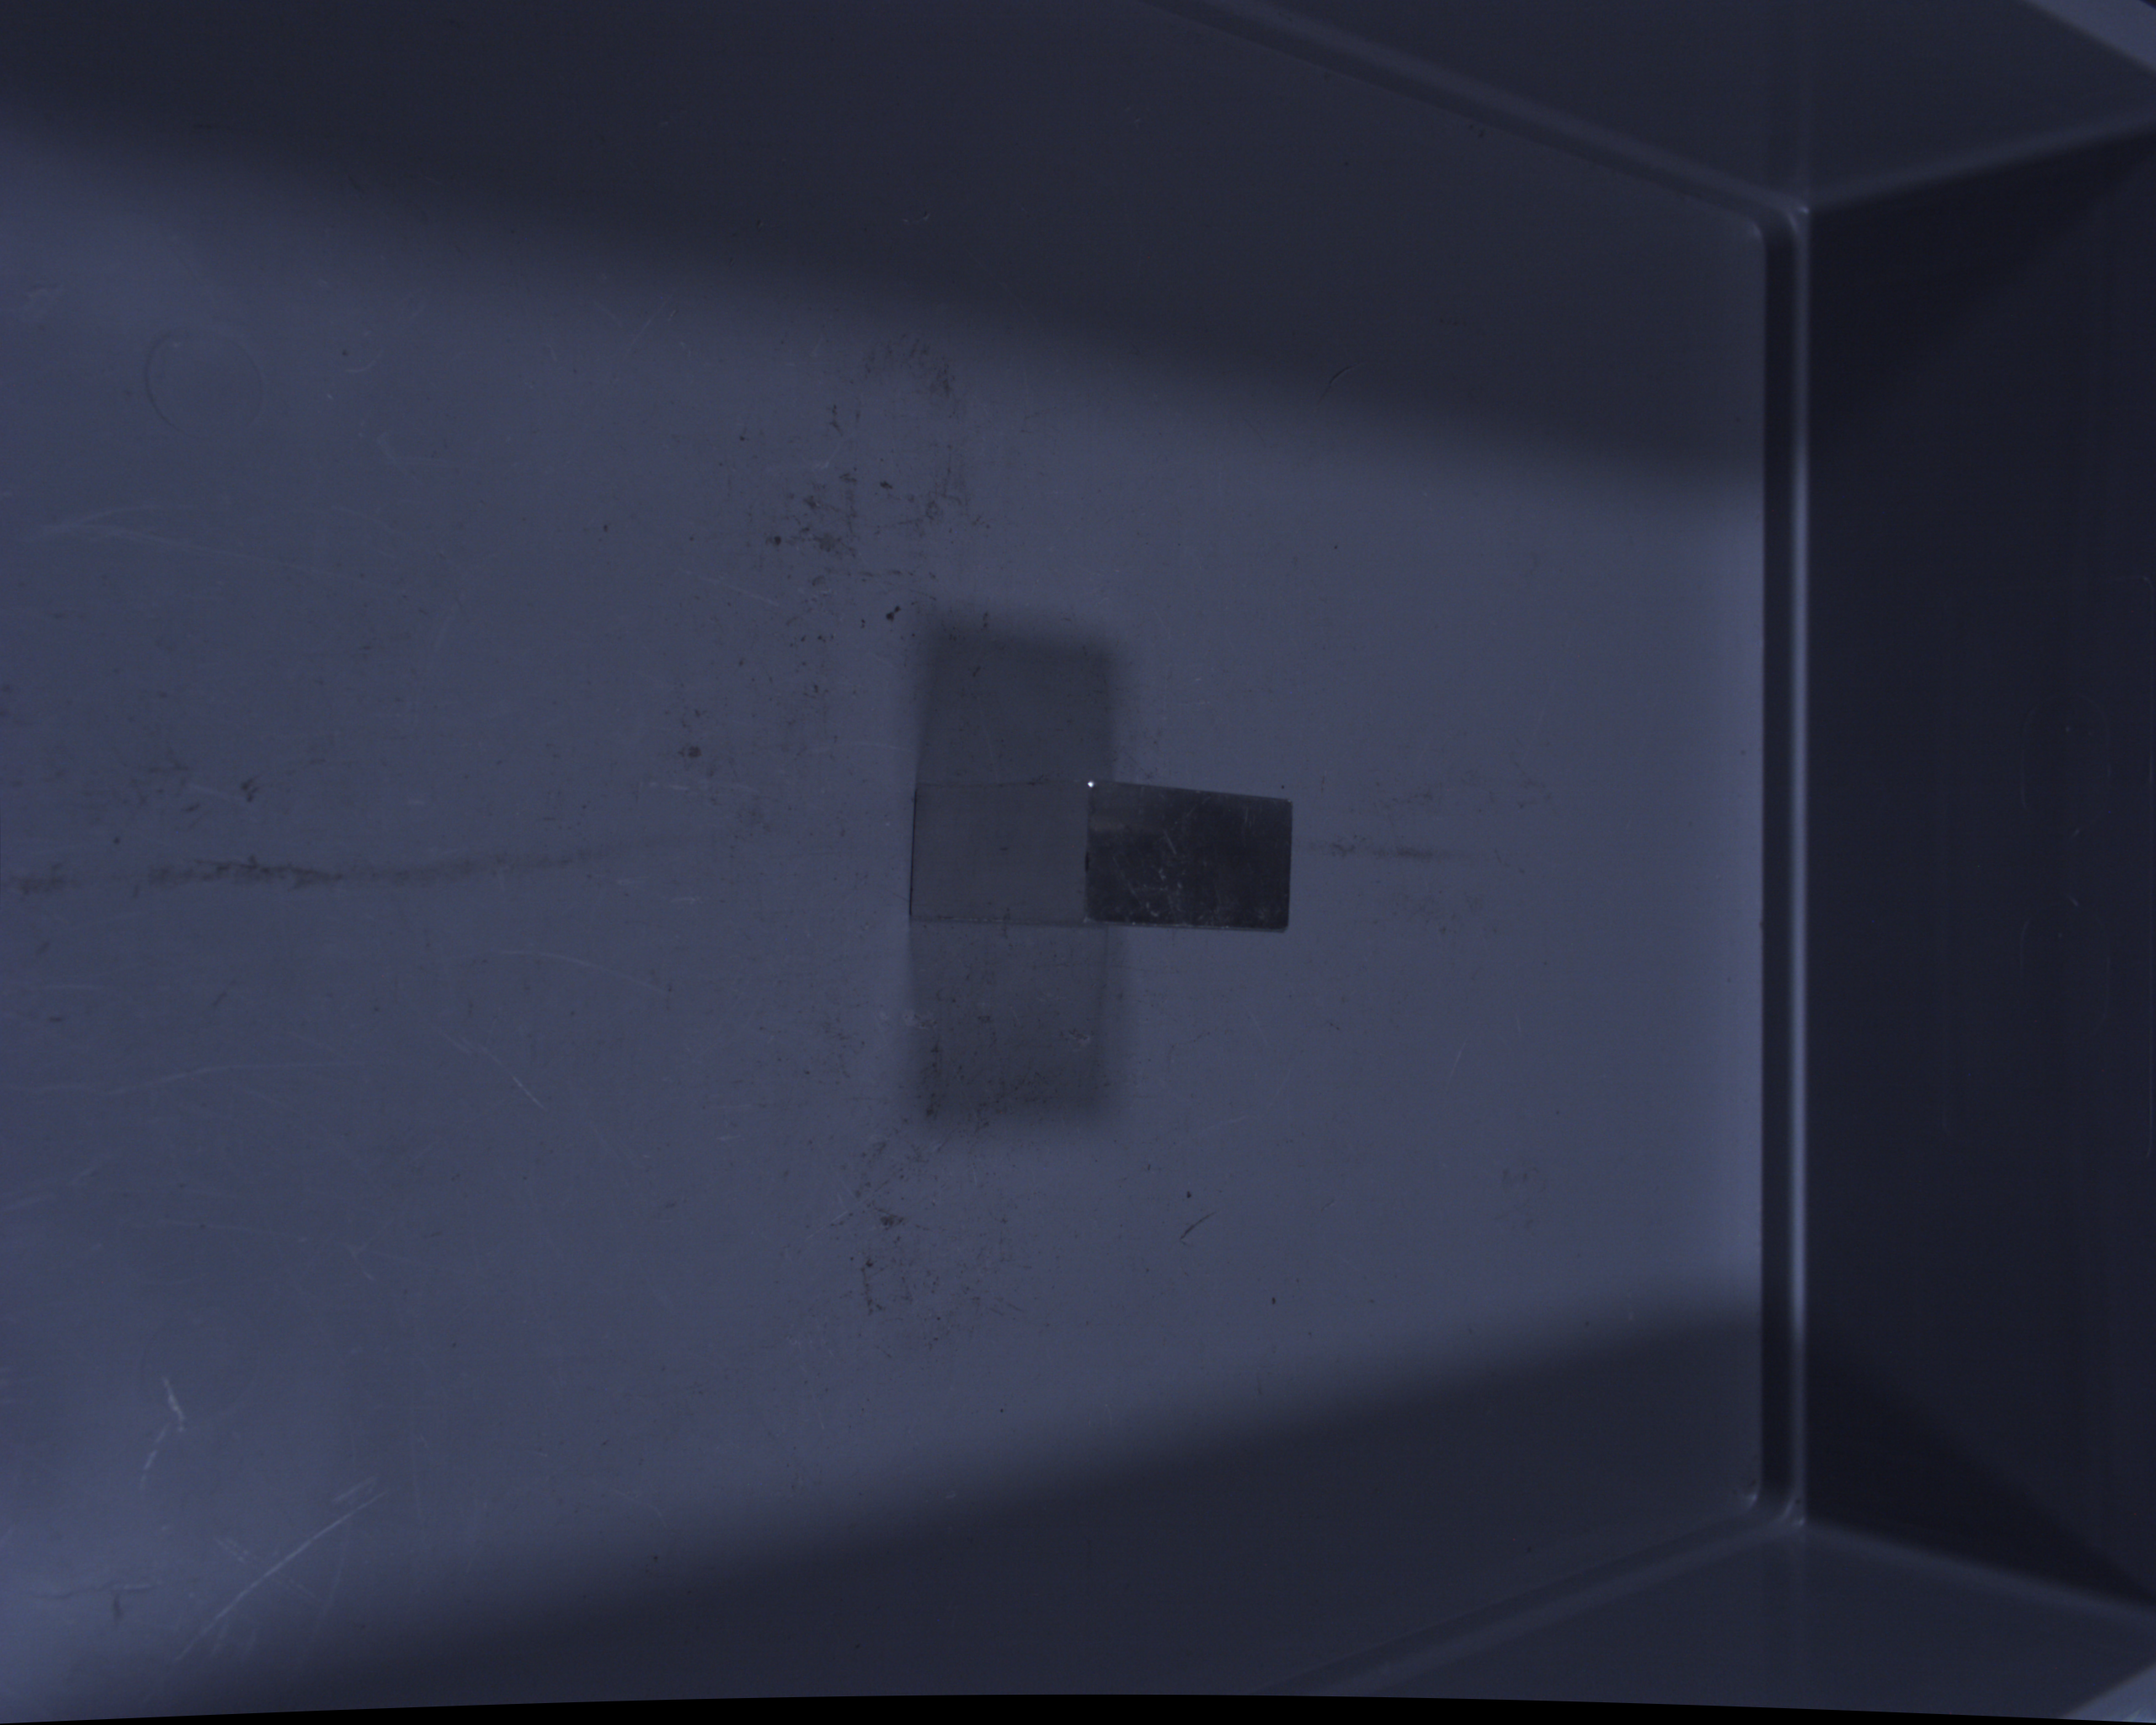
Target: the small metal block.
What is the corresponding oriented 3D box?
[{"bbox_3d":[0.005,-0.001,0.392,0.050,0.050,0.025,4,87,-40],"label":"small metal block"}]
